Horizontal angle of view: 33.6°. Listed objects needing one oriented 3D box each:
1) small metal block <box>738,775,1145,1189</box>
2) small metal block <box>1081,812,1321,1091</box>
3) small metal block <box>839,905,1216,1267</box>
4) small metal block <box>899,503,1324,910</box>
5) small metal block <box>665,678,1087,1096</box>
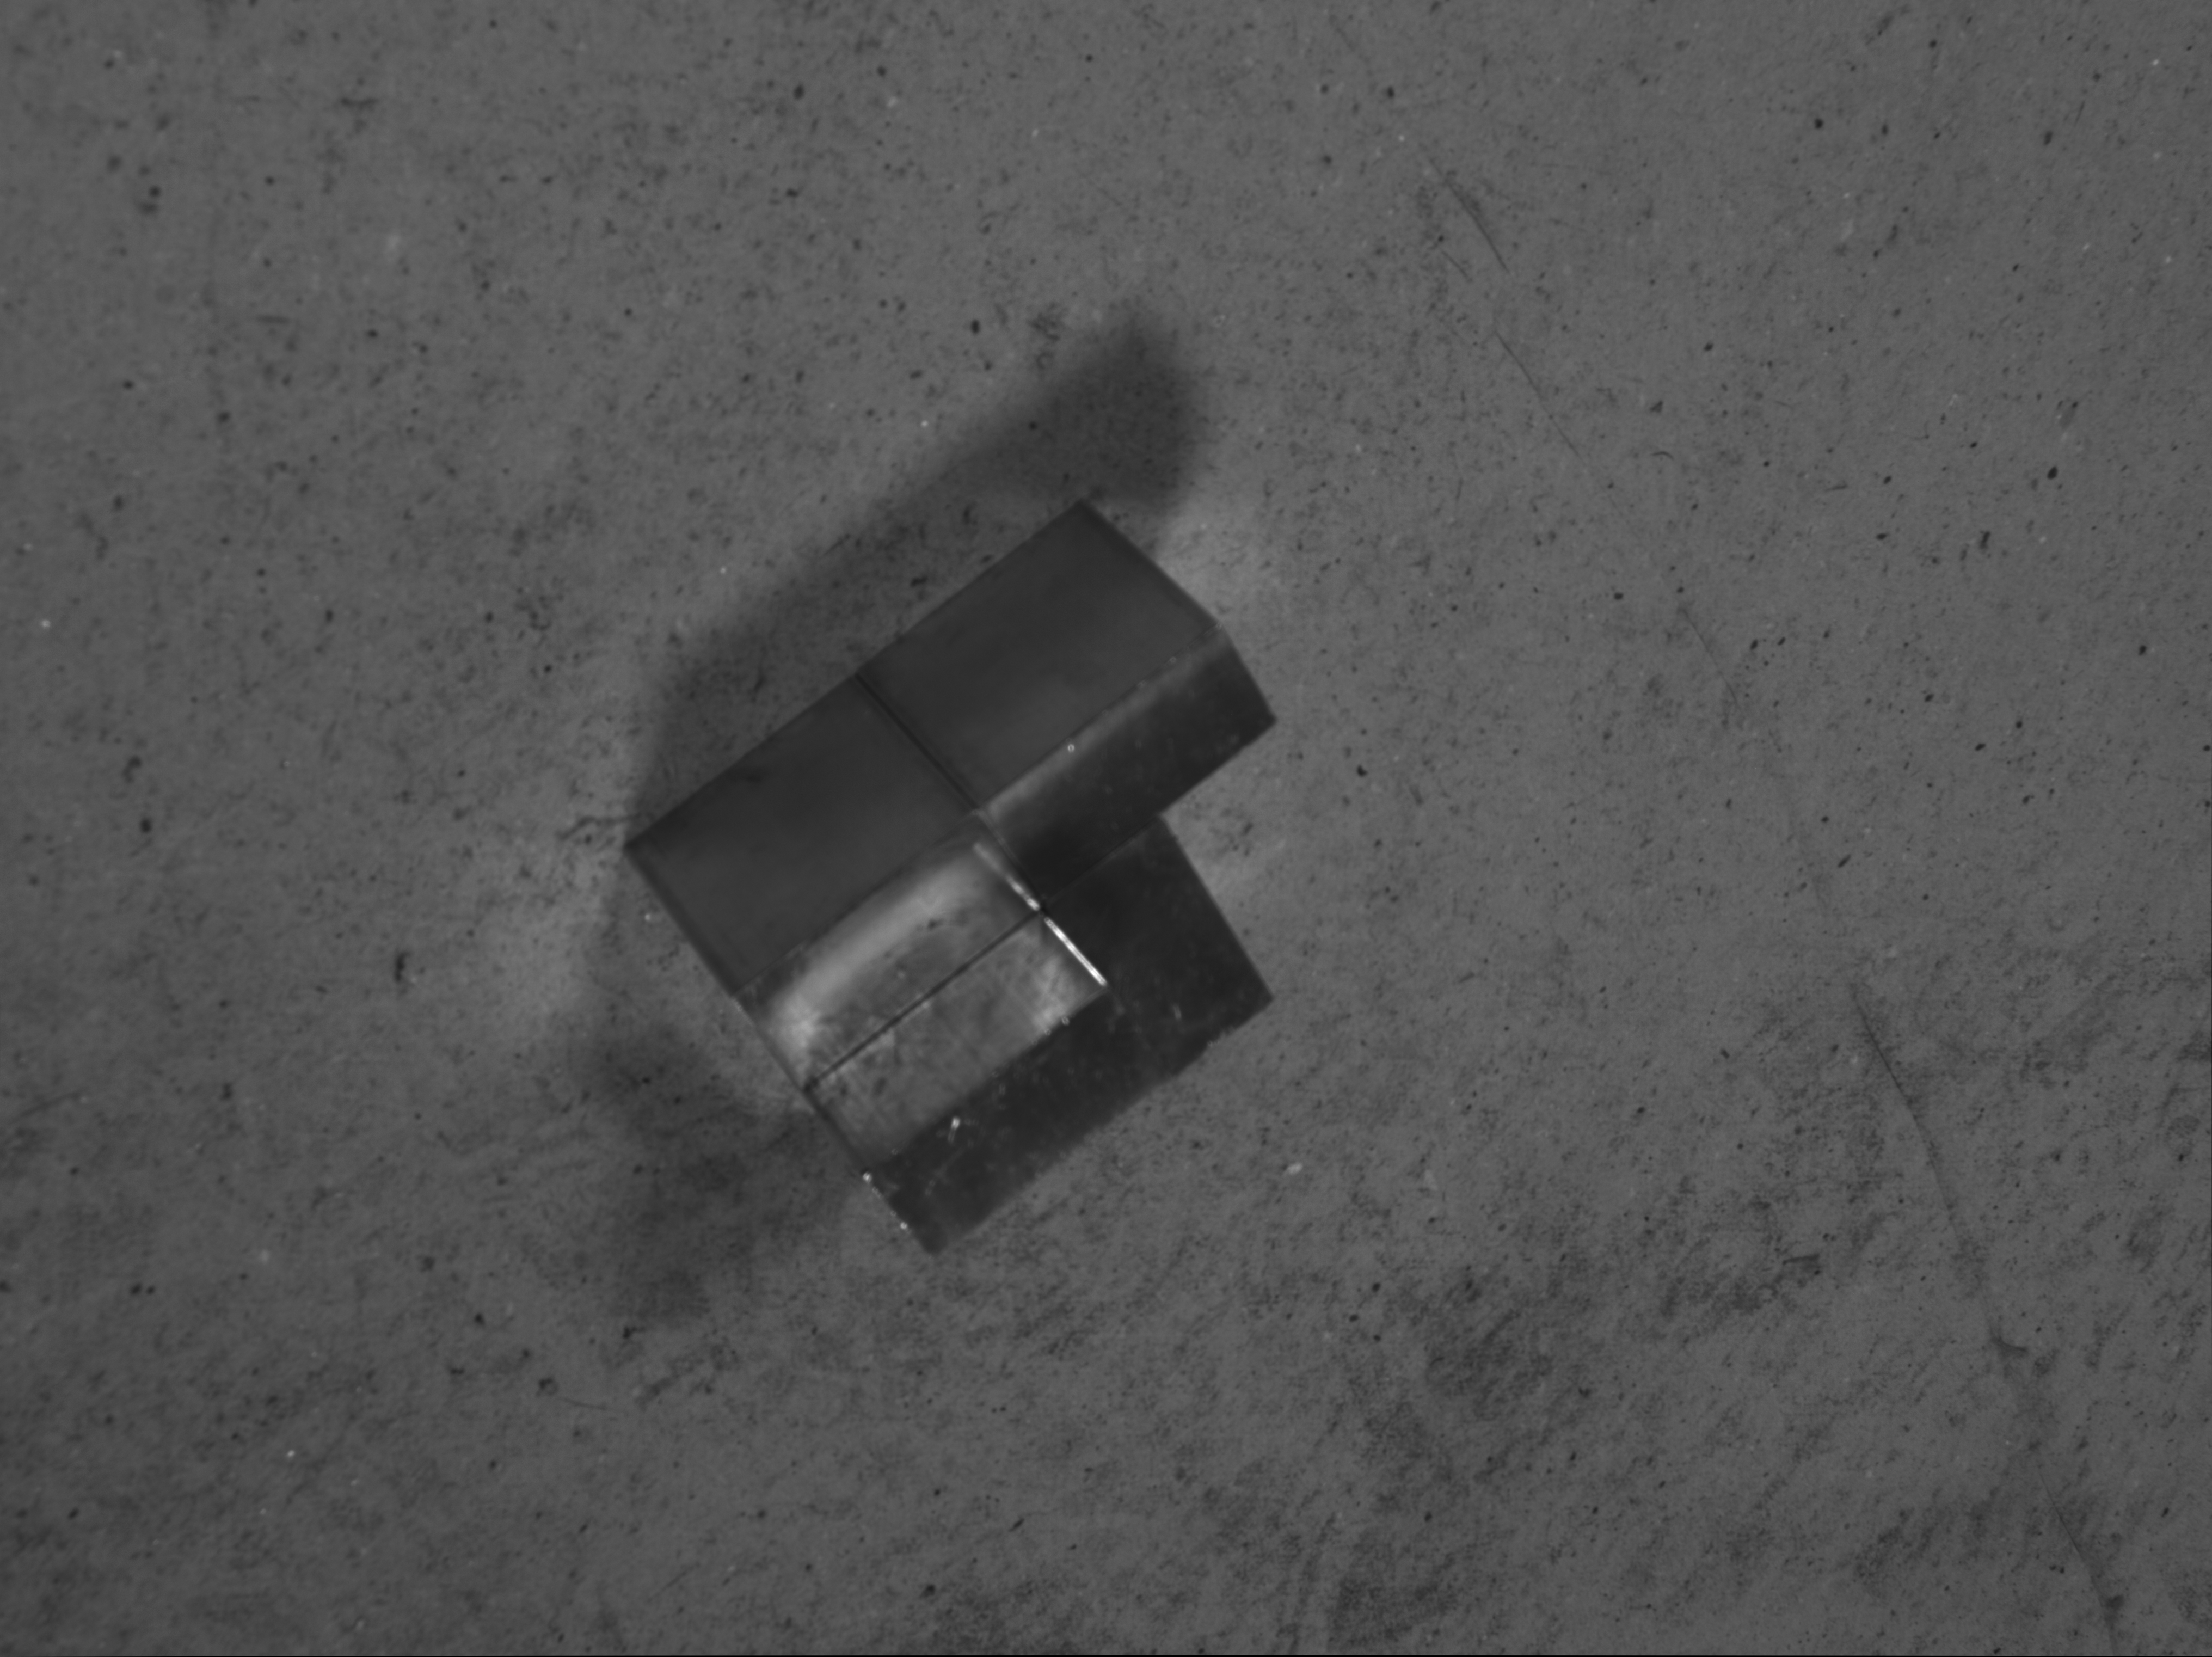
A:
[{"bbox_3d":[-0.029,0.028,0.651,0.050,0.025,0.050,-37,130,-5],"label":"small metal block"},{"bbox_3d":[0.006,0.010,0.644,0.025,0.050,0.050,-37,130,-5],"label":"small metal block"},{"bbox_3d":[-0.018,0.037,0.614,0.050,0.050,0.025,-38,130,-5],"label":"small metal block"},{"bbox_3d":[0.000,-0.021,0.621,0.050,0.050,0.025,-38,130,-5],"label":"small metal block"},{"bbox_3d":[-0.039,0.009,0.617,0.050,0.050,0.025,-38,130,-5],"label":"small metal block"}]
